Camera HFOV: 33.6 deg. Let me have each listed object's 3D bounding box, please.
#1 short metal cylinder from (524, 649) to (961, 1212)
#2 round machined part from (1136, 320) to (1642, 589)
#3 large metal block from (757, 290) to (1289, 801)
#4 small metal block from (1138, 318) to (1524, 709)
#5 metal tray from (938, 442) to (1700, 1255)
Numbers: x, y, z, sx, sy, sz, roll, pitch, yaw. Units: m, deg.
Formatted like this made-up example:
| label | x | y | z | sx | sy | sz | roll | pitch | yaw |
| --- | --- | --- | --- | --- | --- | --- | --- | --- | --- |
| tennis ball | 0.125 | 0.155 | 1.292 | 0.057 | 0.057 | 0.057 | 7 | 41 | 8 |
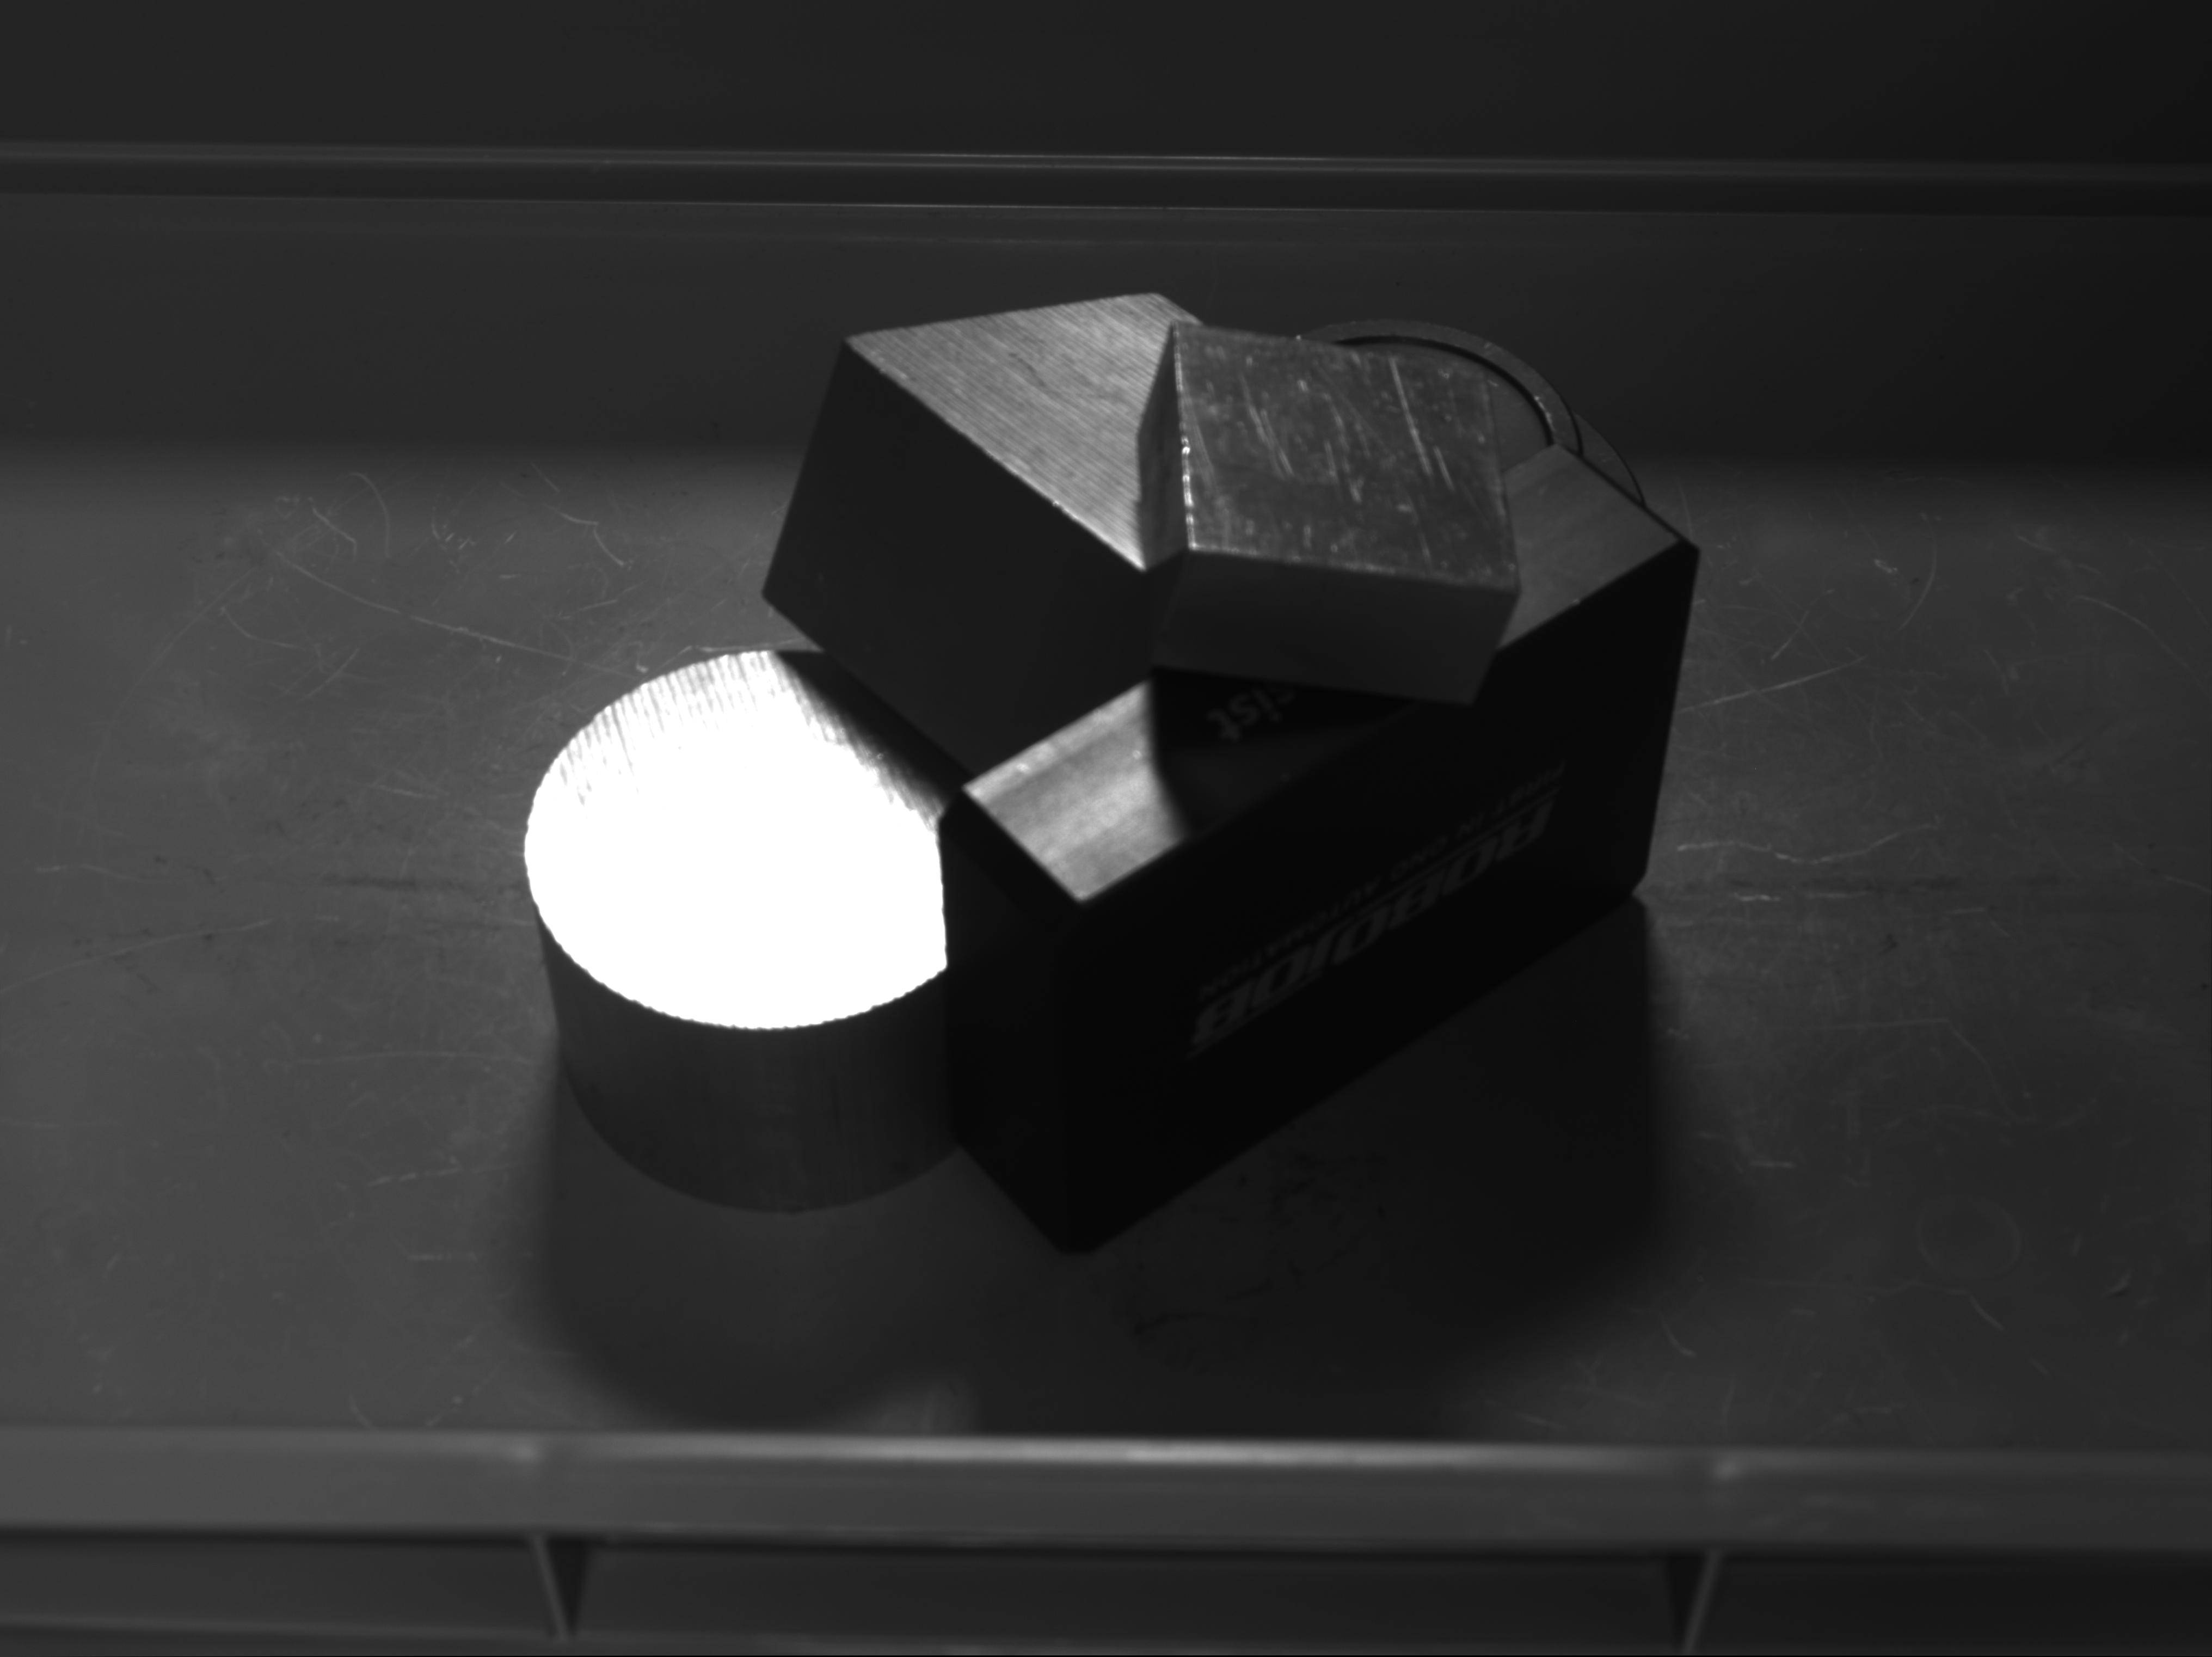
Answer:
| label | x | y | z | sx | sy | sz | roll | pitch | yaw |
| --- | --- | --- | --- | --- | --- | --- | --- | --- | --- |
| short metal cylinder | -0.054 | 0.016 | 0.610 | 0.080 | 0.050 | 0.080 | 0 | 50 | 0 |
| round machined part | 0.052 | -0.056 | 0.676 | 0.098 | 0.042 | 0.098 | 0 | 50 | 0 |
| large metal block | 0.002 | -0.045 | 0.616 | 0.080 | 0.050 | 0.080 | 39 | 35 | 28 |
| small metal block | 0.033 | -0.048 | 0.556 | 0.050 | 0.025 | 0.050 | 7 | 48 | -11 |
| metal tray | 0.035 | 0.004 | 0.594 | 0.130 | 0.090 | 0.030 | -31 | 55 | -24 |
